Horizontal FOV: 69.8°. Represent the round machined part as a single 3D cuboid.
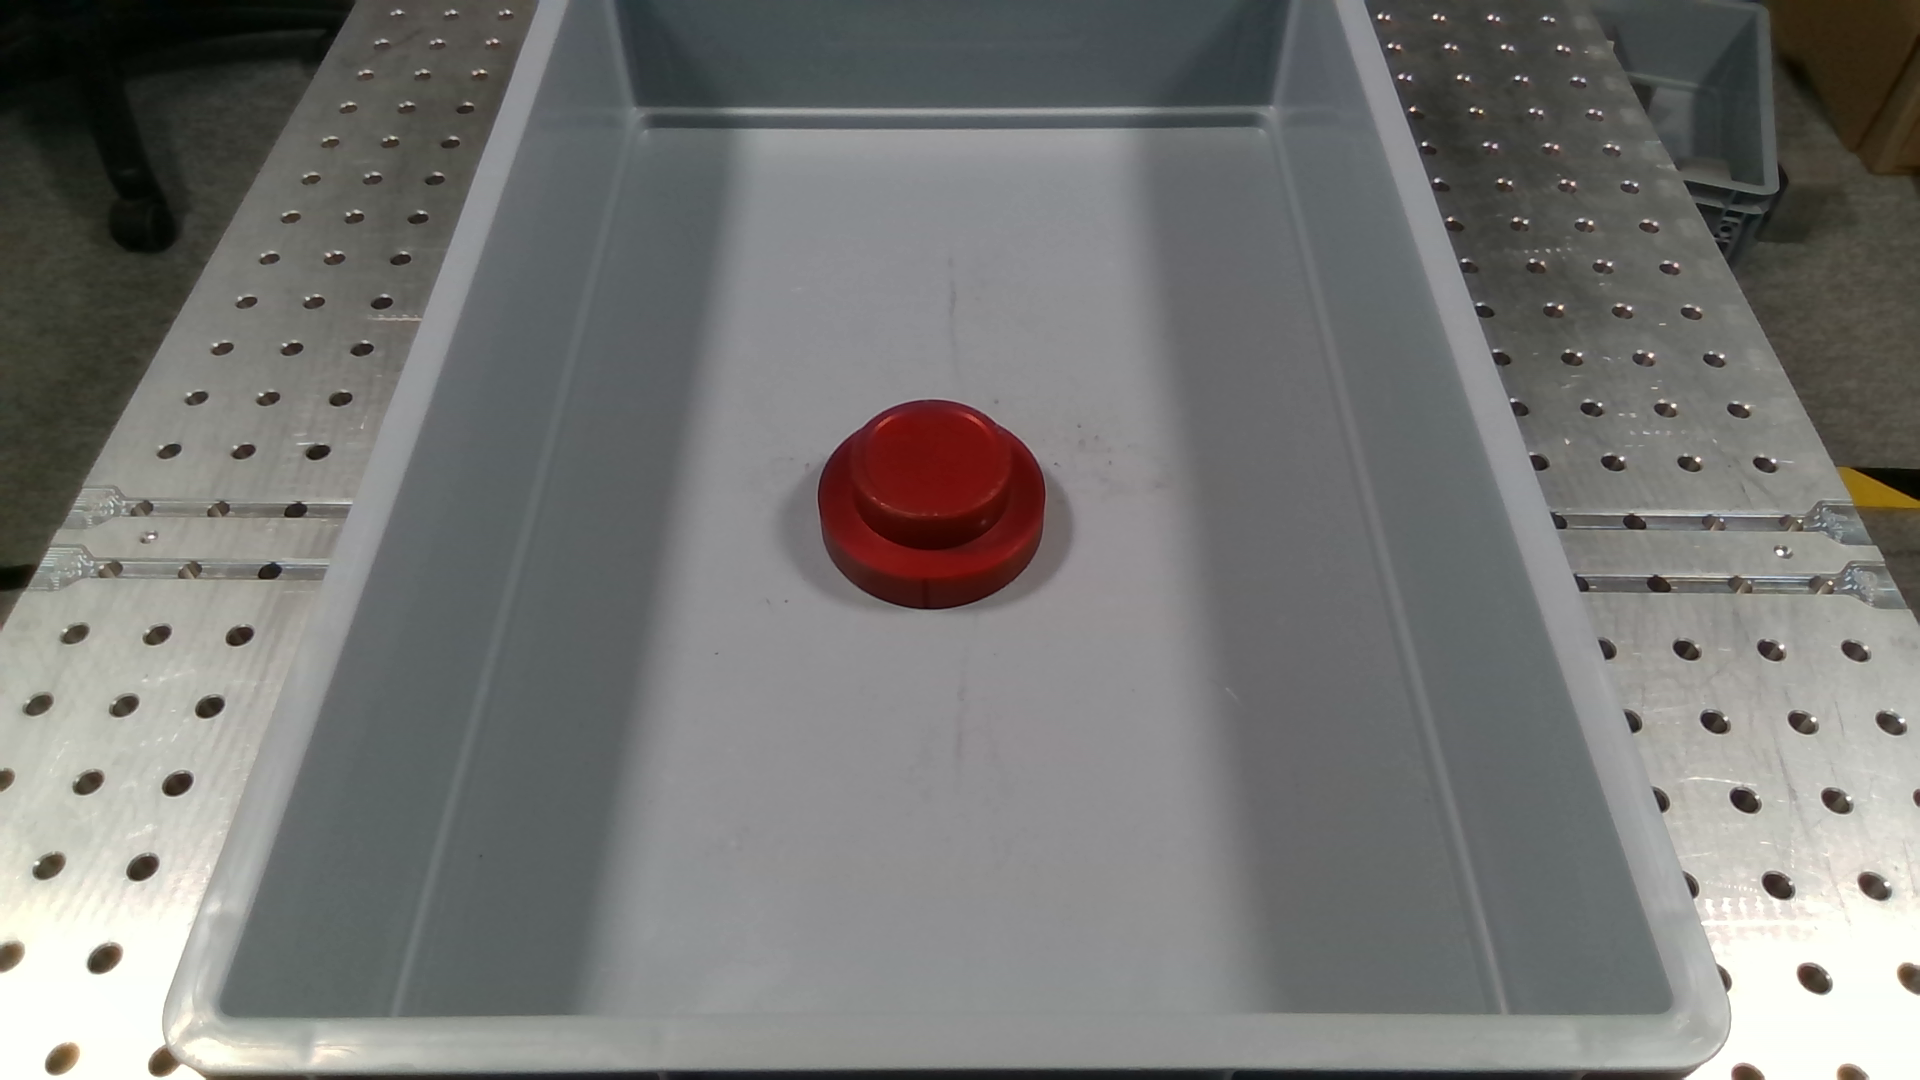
[{"bbox_3d":[-0.013,-0.022,0.591,0.098,0.042,0.098,0,50,0],"label":"round machined part"}]
